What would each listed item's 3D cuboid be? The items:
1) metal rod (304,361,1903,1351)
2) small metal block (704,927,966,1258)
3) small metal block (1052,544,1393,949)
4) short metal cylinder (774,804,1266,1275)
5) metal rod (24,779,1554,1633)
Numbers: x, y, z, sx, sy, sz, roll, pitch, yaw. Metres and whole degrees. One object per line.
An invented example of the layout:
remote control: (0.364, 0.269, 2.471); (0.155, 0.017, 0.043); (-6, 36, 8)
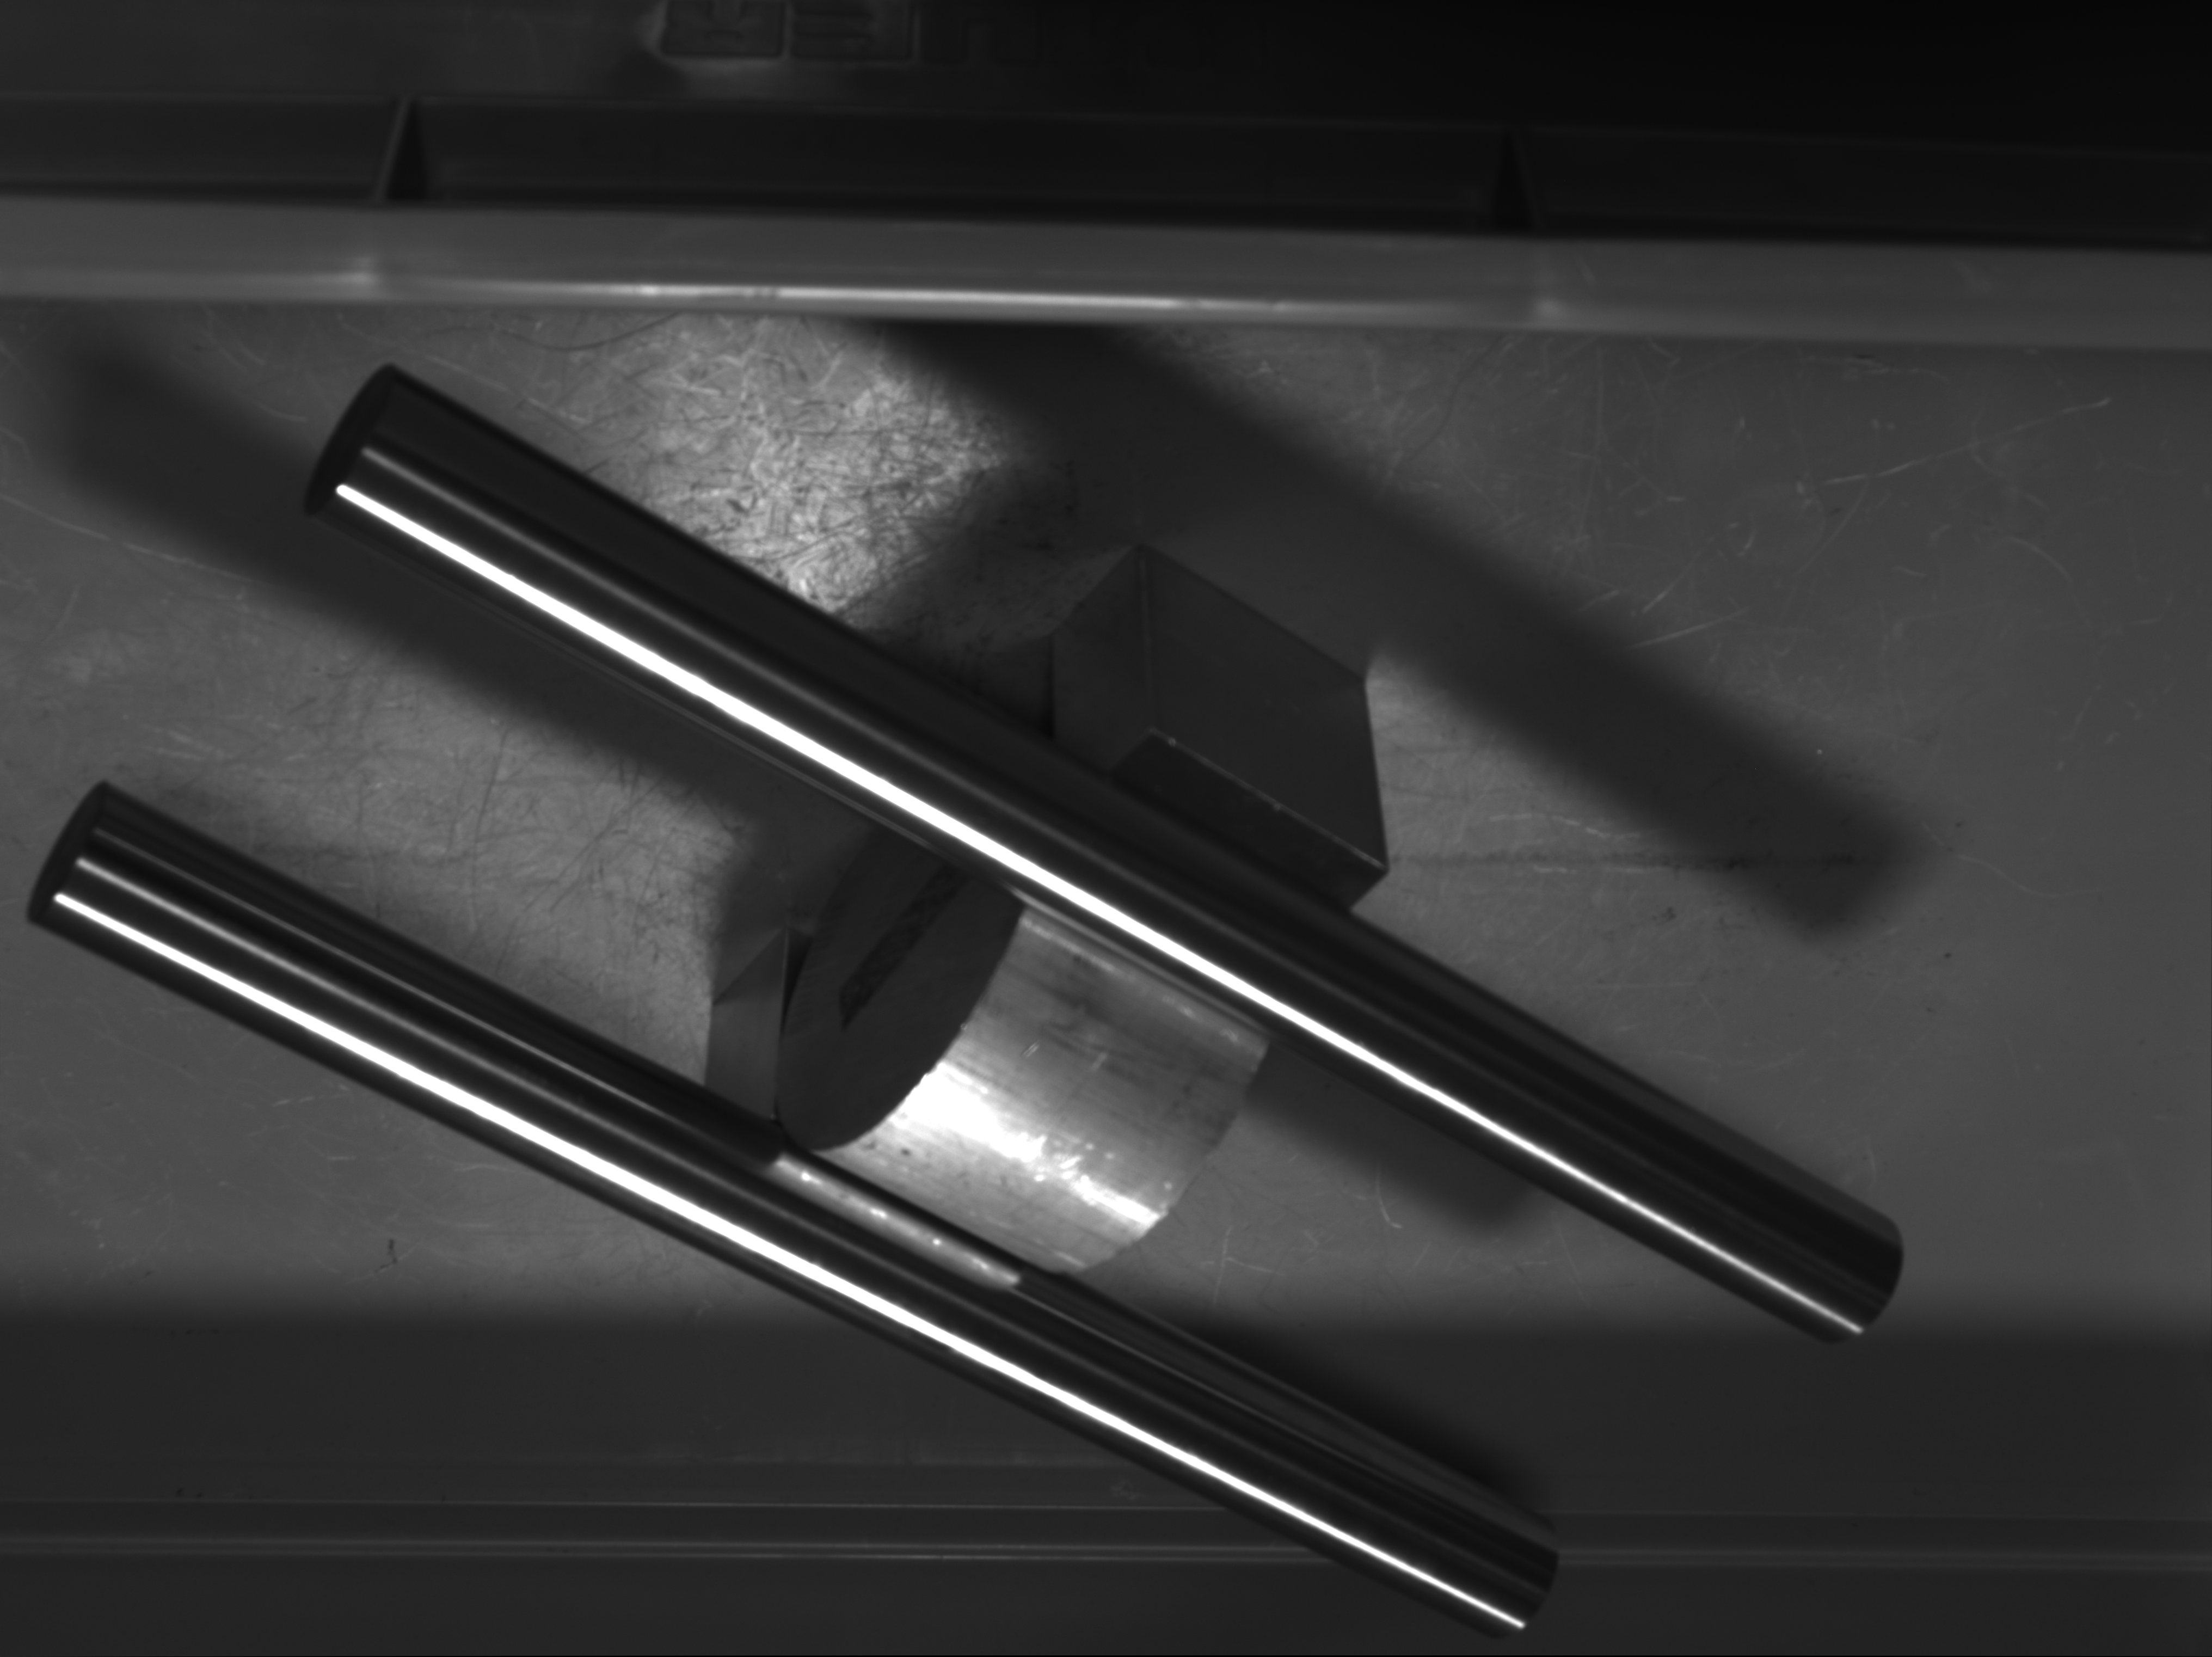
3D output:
metal rod: (0.012, 0.012, 0.583); (0.301, 0.025, 0.025); (30, 123, -24)
small metal block: (-0.046, 0.053, 0.663); (0.050, 0.050, 0.025); (30, 123, -24)
small metal block: (0.019, -0.012, 0.610); (0.050, 0.050, 0.025); (30, 123, -24)
short metal cylinder: (-0.013, 0.029, 0.625); (0.050, 0.080, 0.080); (30, 123, -24)
metal rod: (-0.043, 0.072, 0.632); (0.301, 0.025, 0.025); (30, 123, -24)
